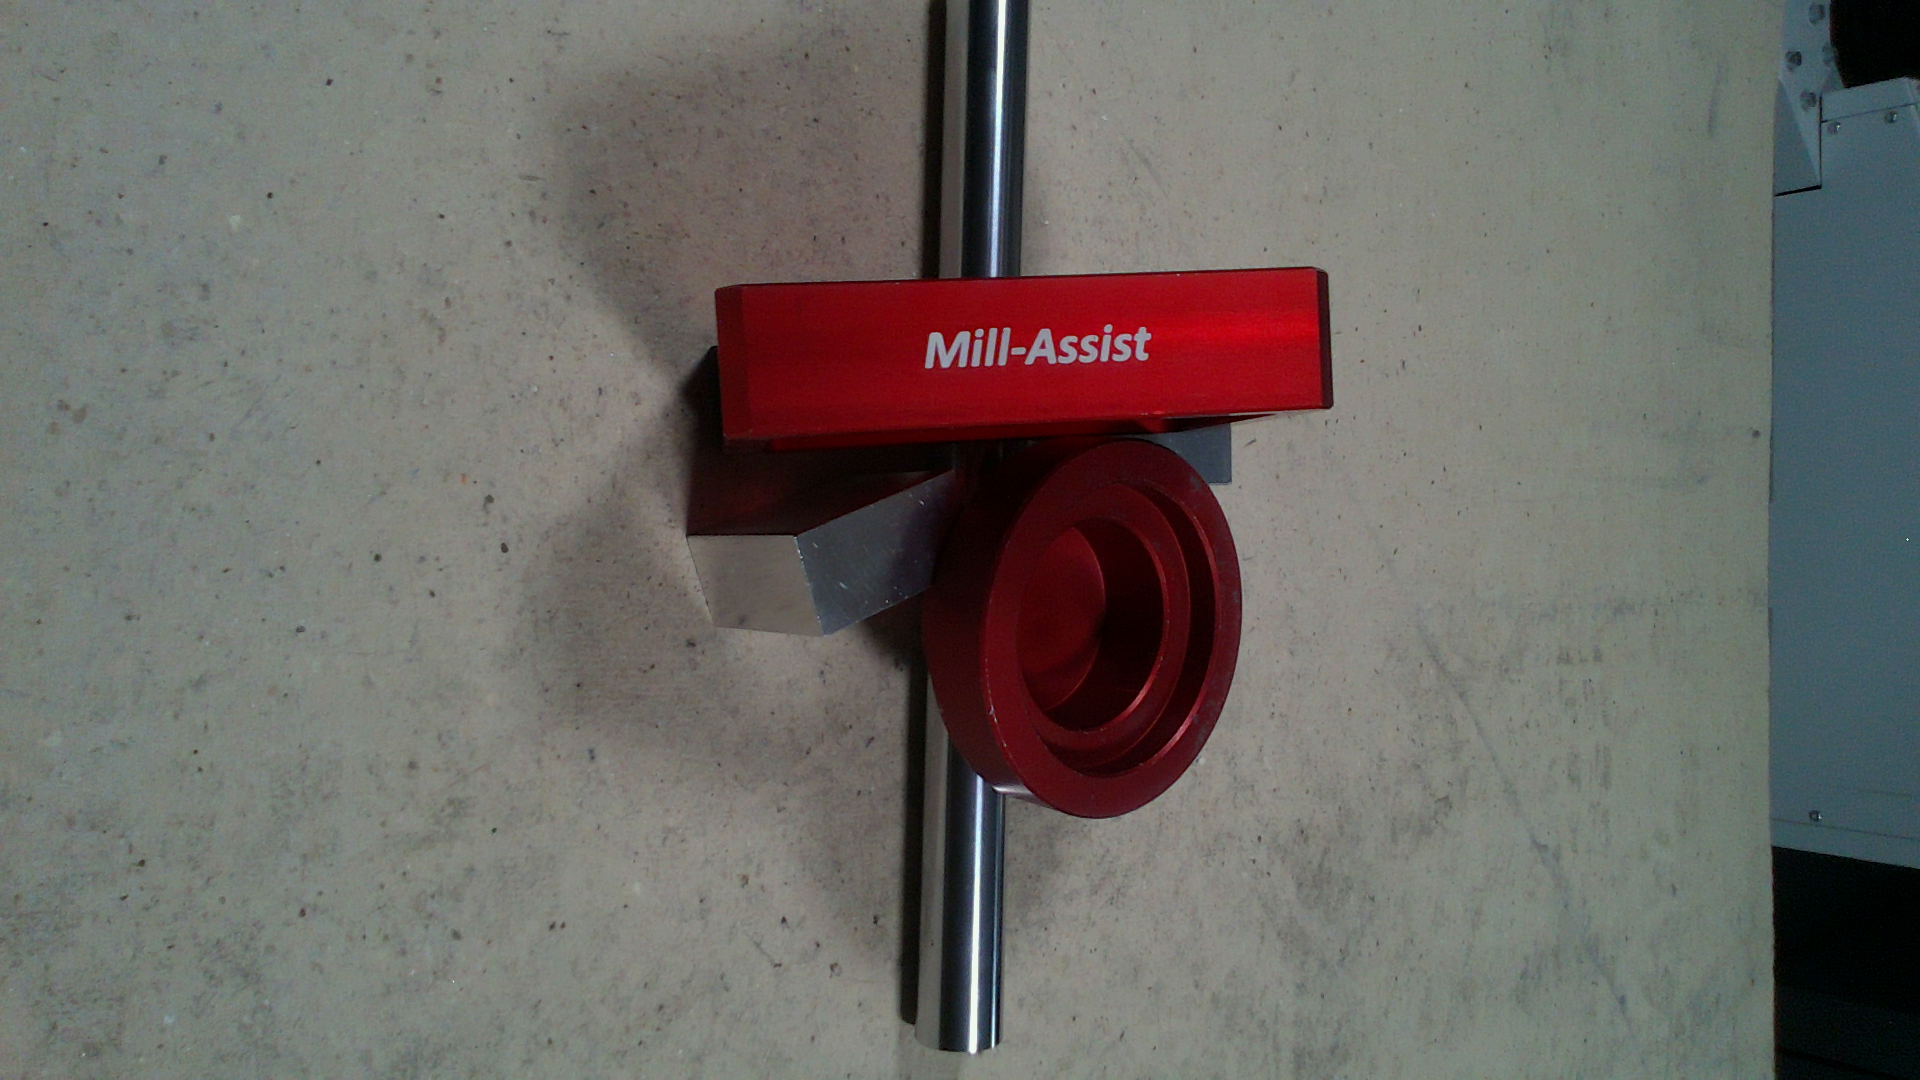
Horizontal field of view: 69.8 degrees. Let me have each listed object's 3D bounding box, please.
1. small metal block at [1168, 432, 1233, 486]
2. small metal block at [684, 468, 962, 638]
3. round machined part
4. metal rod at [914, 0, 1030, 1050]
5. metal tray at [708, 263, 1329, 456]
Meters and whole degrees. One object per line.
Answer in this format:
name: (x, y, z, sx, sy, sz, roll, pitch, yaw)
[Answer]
small metal block: (0.045, -0.028, 0.410, 0.050, 0.050, 0.025, -2, 91, -40)
small metal block: (-0.032, 0.002, 0.346, 0.050, 0.050, 0.025, -24, 105, -37)
round machined part: (0.029, 0.021, 0.366, 0.098, 0.042, 0.098, -4, 96, -41)
metal rod: (0.004, -0.010, 0.392, 0.025, 0.025, 0.300, 3, 88, -40)
metal tray: (0.008, -0.040, 0.323, 0.130, 0.090, 0.030, -4, 91, -10)
